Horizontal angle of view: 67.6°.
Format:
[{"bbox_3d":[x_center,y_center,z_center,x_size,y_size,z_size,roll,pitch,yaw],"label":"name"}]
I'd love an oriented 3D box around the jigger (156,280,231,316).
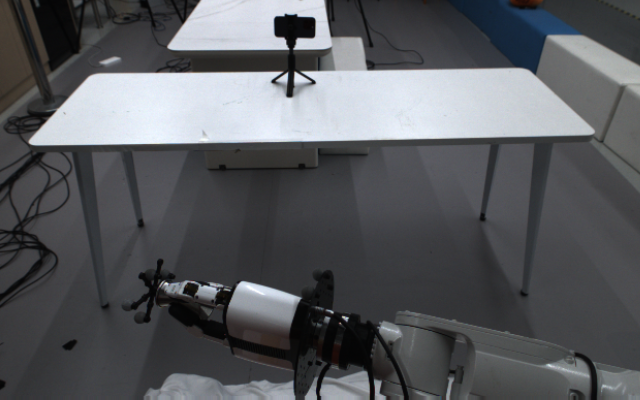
[{"bbox_3d":[-0.175,0.130,0.653,0.071,0.043,0.043,10,35,16],"label":"jigger"}]
